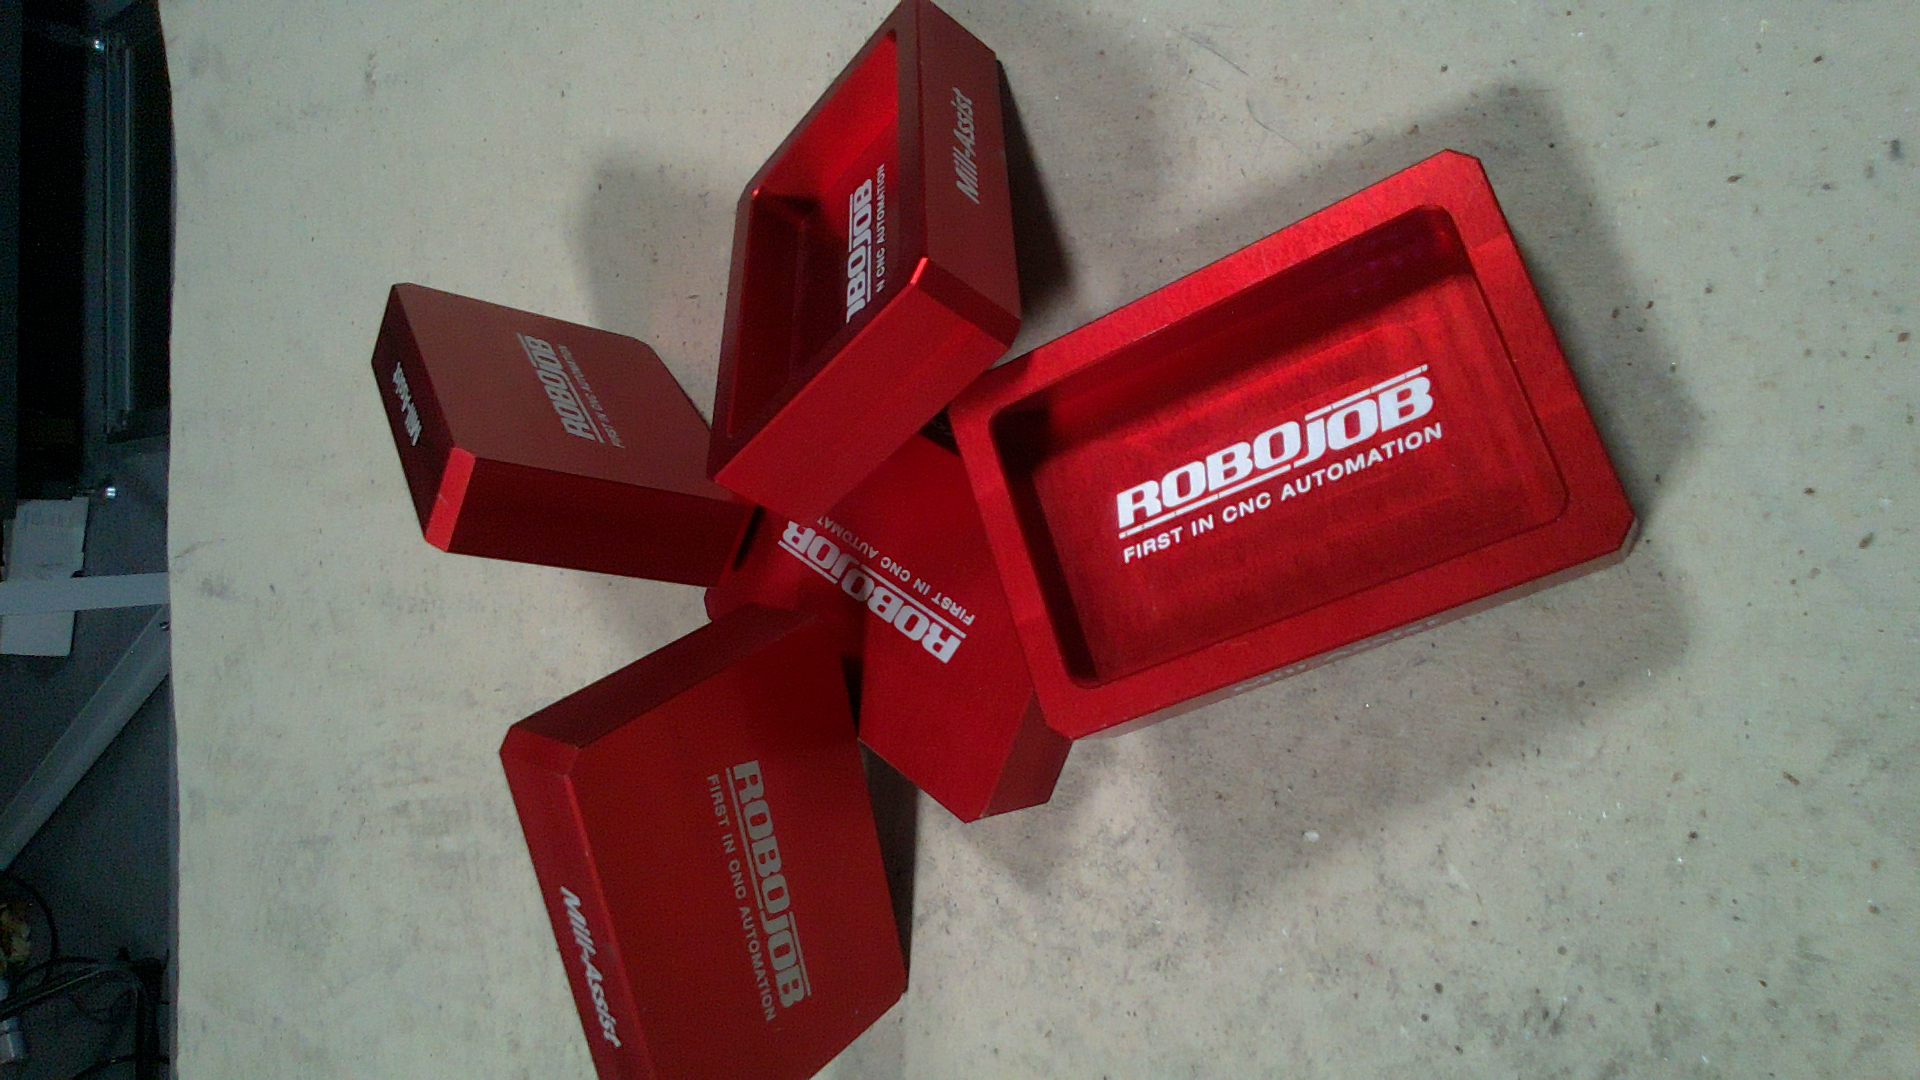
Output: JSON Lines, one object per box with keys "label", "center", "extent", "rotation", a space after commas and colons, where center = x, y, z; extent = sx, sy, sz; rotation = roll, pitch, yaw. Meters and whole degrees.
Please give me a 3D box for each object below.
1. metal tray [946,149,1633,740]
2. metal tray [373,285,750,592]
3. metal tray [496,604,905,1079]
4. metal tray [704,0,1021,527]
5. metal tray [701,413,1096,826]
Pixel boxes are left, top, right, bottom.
{"label": "metal tray", "center": [0.069, -0.017, 0.312], "extent": [0.130, 0.030, 0.090], "rotation": [-23, 75, 22]}
{"label": "metal tray", "center": [-0.131, -0.035, 0.442], "extent": [0.130, 0.090, 0.030], "rotation": [49, 120, 48]}
{"label": "metal tray", "center": [-0.066, 0.095, 0.383], "extent": [0.030, 0.090, 0.130], "rotation": [7, 115, 40]}
{"label": "metal tray", "center": [-0.028, -0.079, 0.377], "extent": [0.090, 0.030, 0.130], "rotation": [-39, 37, 33]}
{"label": "metal tray", "center": [-0.017, 0.011, 0.405], "extent": [0.130, 0.030, 0.090], "rotation": [32, 110, 36]}
